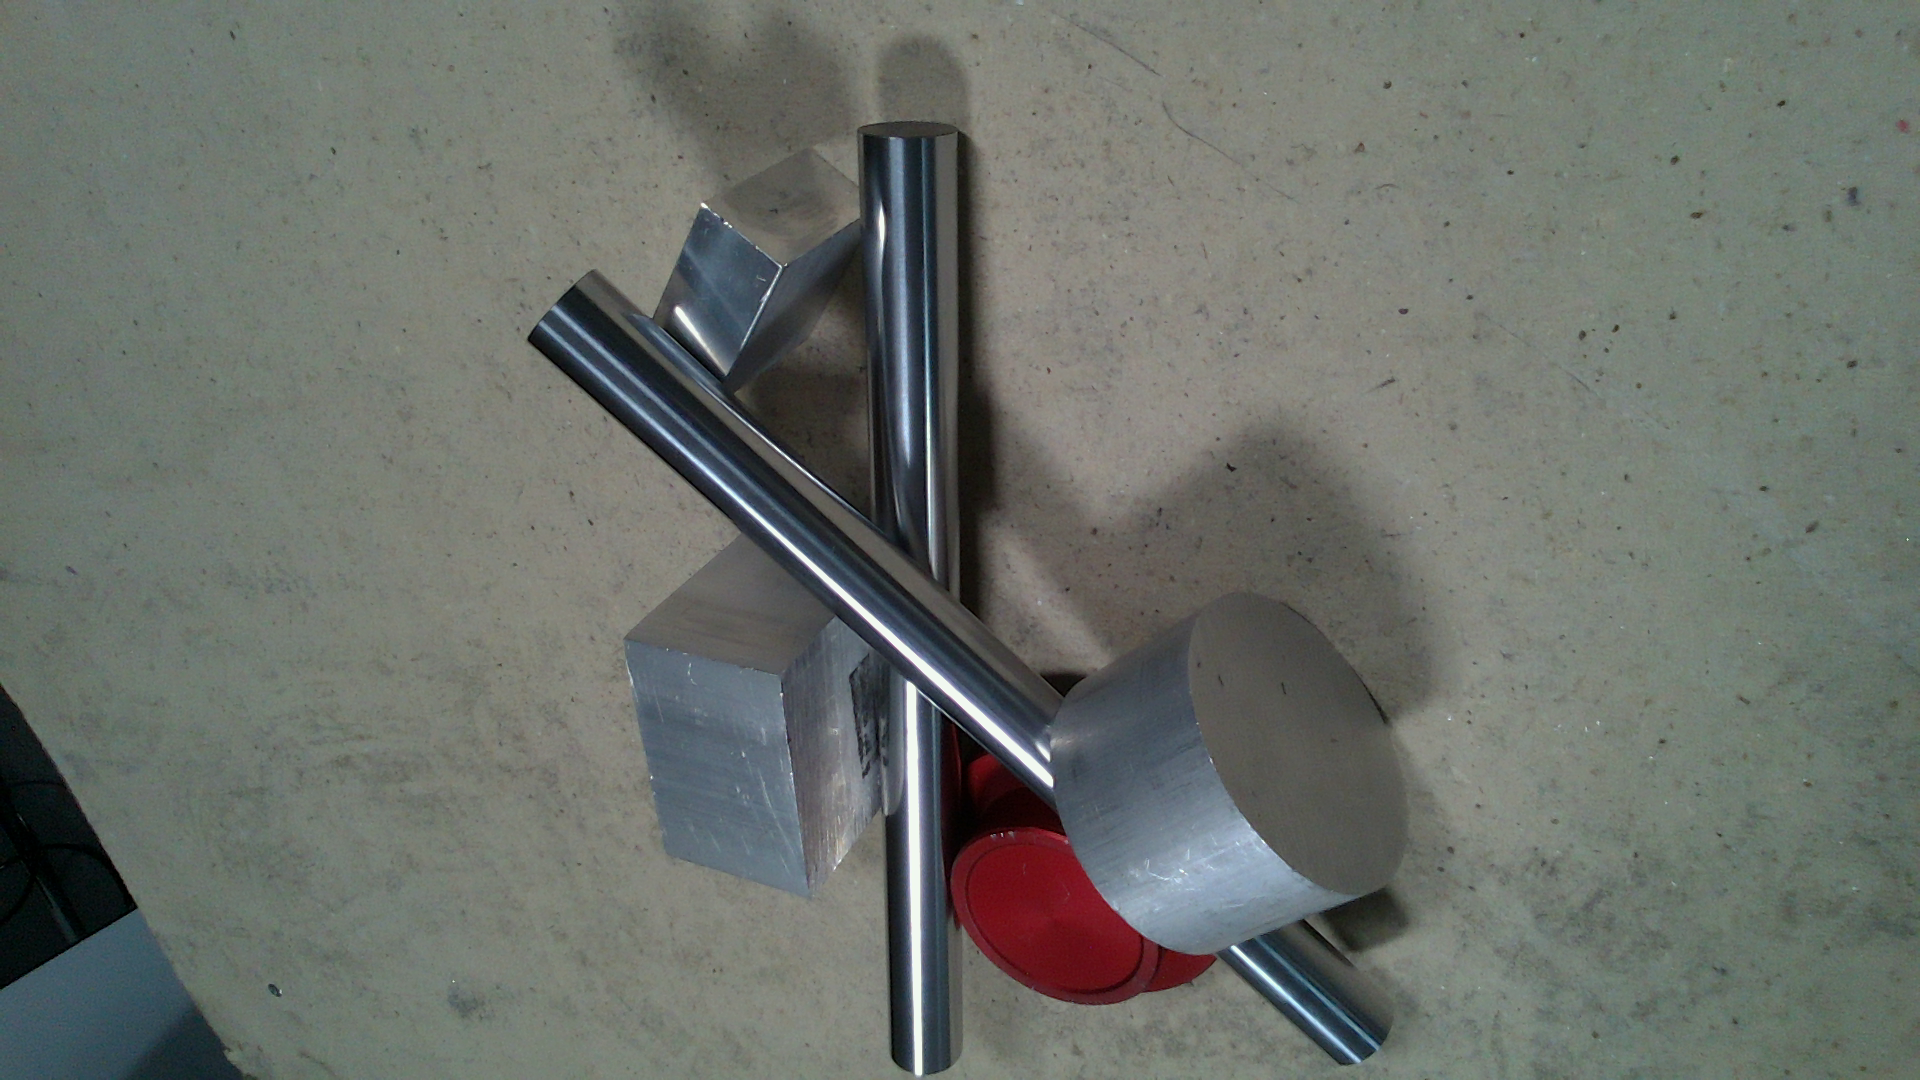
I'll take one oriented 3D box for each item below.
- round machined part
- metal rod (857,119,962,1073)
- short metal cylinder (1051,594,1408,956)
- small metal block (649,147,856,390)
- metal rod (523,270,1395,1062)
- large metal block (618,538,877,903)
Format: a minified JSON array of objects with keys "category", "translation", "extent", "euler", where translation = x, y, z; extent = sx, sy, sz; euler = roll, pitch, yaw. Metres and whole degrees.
[{"category":"round machined part","translation":[0.037,0.104,0.427],"extent":[0.098,0.042,0.098],"euler":[13,124,21]},{"category":"metal rod","translation":[-0.012,0.034,0.401],"extent":[0.025,0.025,0.300],"euler":[11,117,22]},{"category":"short metal cylinder","translation":[0.070,0.061,0.358],"extent":[0.080,0.080,0.050],"euler":[48,129,-6]},{"category":"small metal block","translation":[-0.053,-0.069,0.362],"extent":[0.025,0.050,0.050],"euler":[38,129,2]},{"category":"metal rod","translation":[0.009,0.042,0.370],"extent":[0.300,0.025,0.025],"euler":[43,130,-13]},{"category":"large metal block","translation":[-0.051,0.046,0.414],"extent":[0.050,0.080,0.080],"euler":[11,123,22]}]
